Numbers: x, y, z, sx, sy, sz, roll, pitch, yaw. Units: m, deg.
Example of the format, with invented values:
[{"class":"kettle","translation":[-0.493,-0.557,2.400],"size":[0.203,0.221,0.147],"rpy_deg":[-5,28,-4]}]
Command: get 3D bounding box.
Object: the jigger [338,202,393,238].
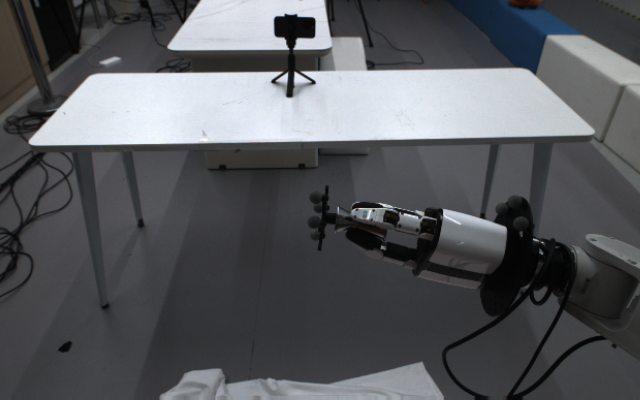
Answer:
[{"class":"jigger","translation":[0.062,0.025,0.651],"size":[0.071,0.043,0.043],"rpy_deg":[5,35,3]}]
